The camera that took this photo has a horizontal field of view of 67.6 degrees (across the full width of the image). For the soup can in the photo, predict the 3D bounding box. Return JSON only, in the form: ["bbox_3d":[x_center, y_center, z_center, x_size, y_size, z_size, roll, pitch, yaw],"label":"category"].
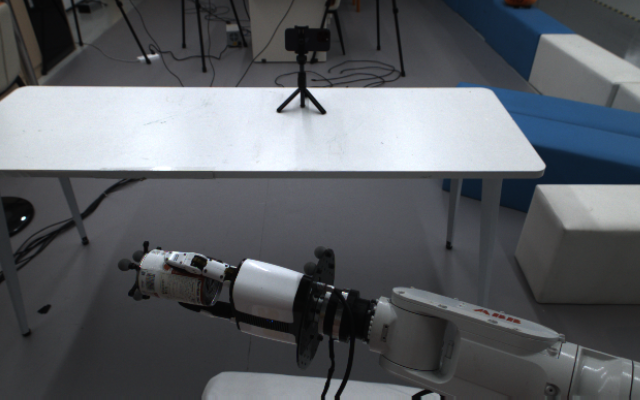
[{"bbox_3d":[-0.193,0.111,0.680,0.101,0.067,0.067,8,35,10],"label":"soup can"}]
